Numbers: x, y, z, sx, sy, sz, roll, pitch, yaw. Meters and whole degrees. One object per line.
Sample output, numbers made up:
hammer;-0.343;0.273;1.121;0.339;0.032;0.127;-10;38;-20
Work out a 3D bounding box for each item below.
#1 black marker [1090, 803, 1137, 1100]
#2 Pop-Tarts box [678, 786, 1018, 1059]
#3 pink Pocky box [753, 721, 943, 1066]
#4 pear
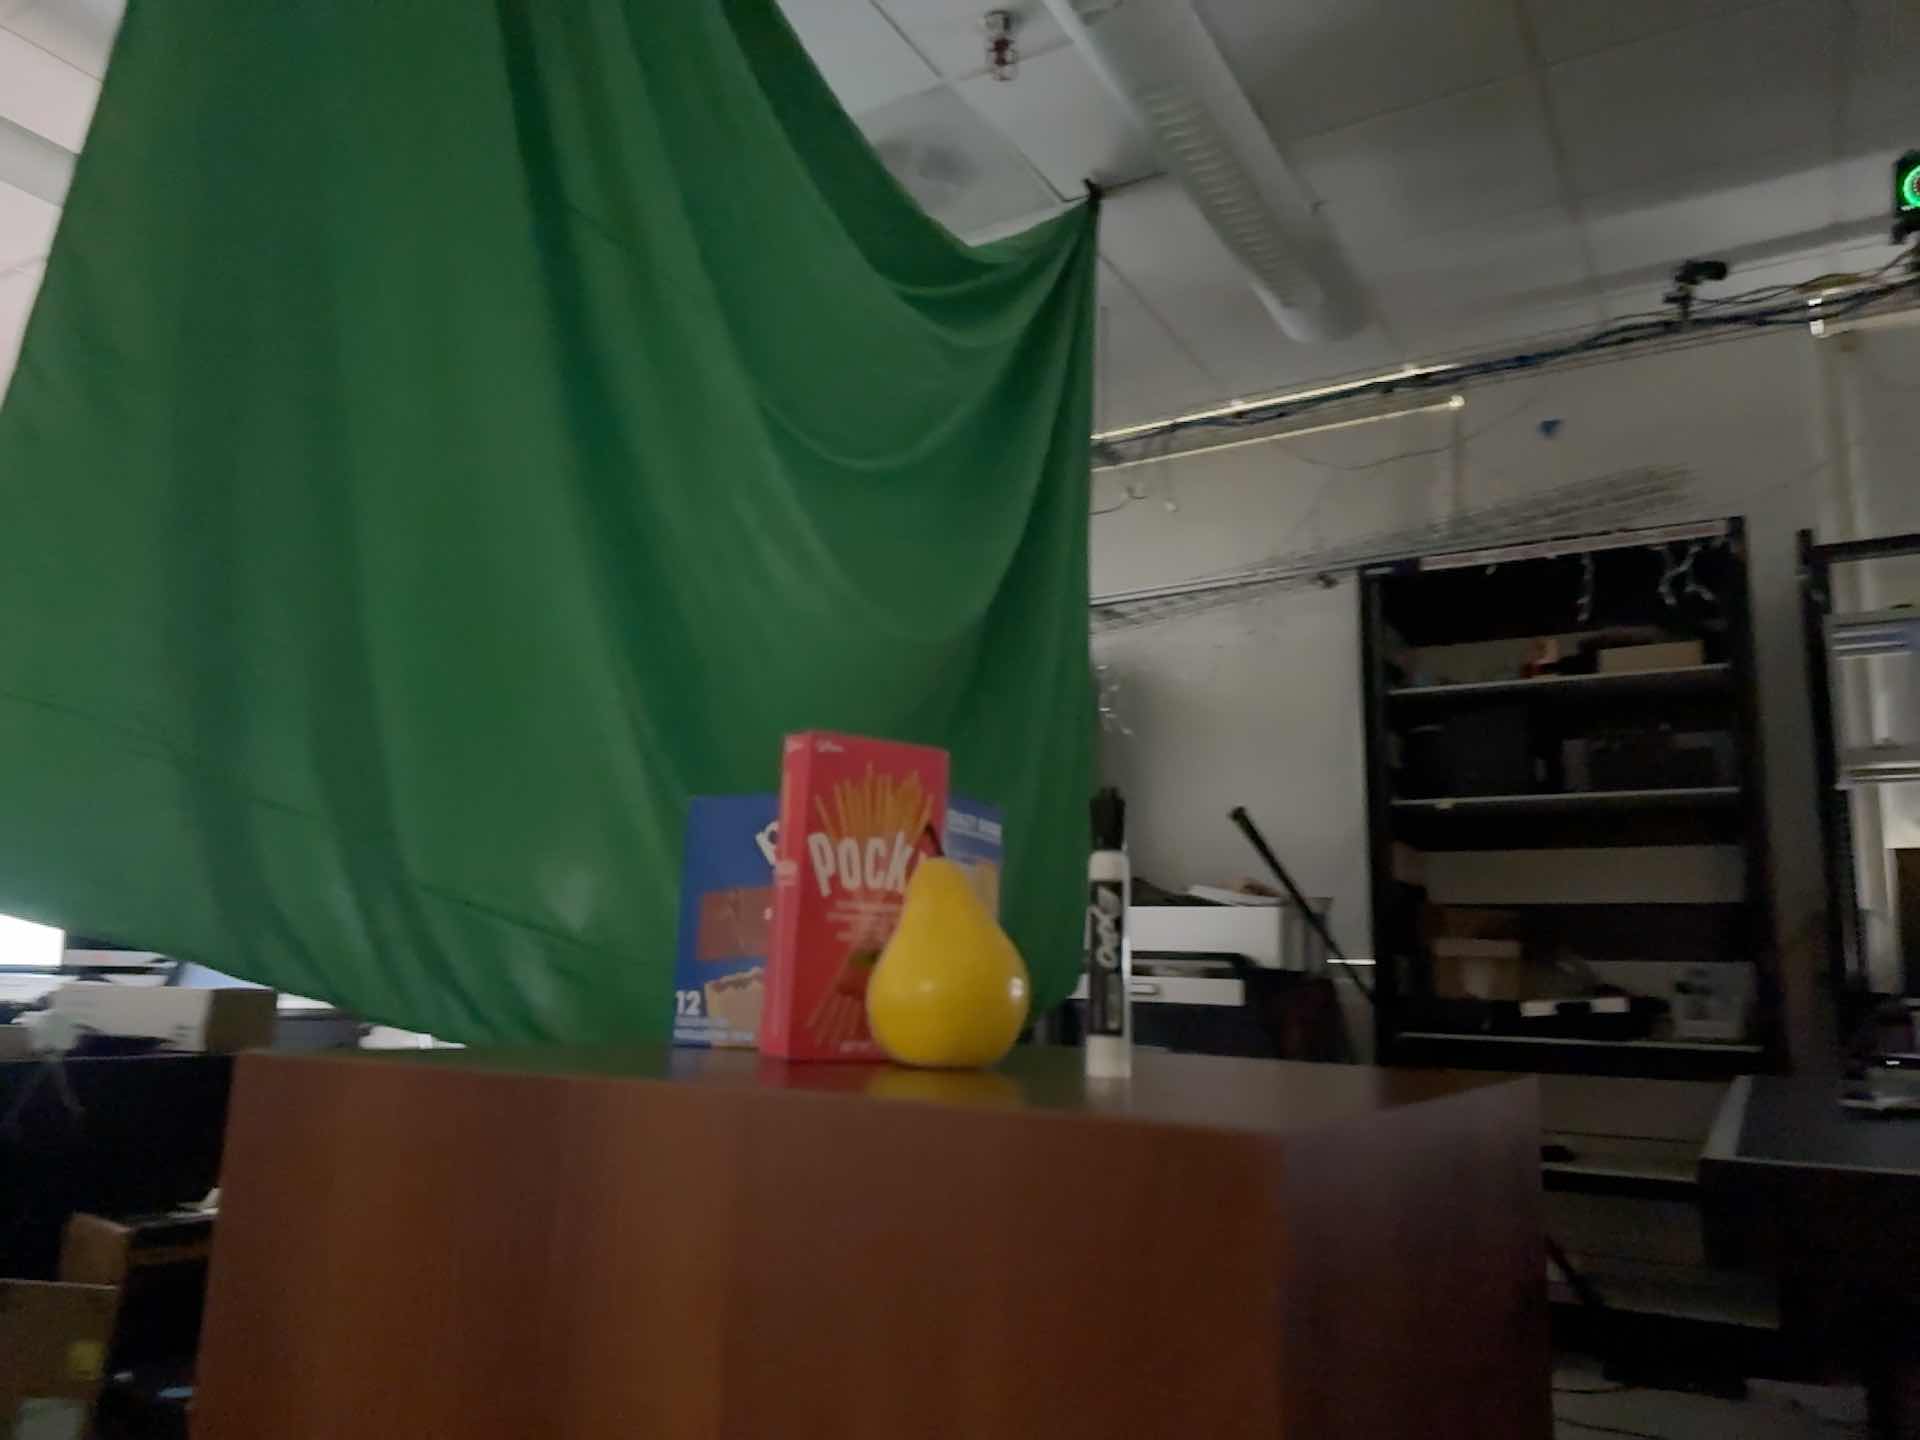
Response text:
black marker;0.064;0.095;0.562;0.020;0.121;0.020;1;-9;0
Pop-Tarts box;-0.062;0.112;0.744;0.161;0.135;0.075;-3;-12;28
pink Pocky box;-0.051;0.081;0.632;0.084;0.155;0.029;8;-10;-36
pear;-0.008;0.099;0.596;0.080;0.111;0.080;3;-10;0
